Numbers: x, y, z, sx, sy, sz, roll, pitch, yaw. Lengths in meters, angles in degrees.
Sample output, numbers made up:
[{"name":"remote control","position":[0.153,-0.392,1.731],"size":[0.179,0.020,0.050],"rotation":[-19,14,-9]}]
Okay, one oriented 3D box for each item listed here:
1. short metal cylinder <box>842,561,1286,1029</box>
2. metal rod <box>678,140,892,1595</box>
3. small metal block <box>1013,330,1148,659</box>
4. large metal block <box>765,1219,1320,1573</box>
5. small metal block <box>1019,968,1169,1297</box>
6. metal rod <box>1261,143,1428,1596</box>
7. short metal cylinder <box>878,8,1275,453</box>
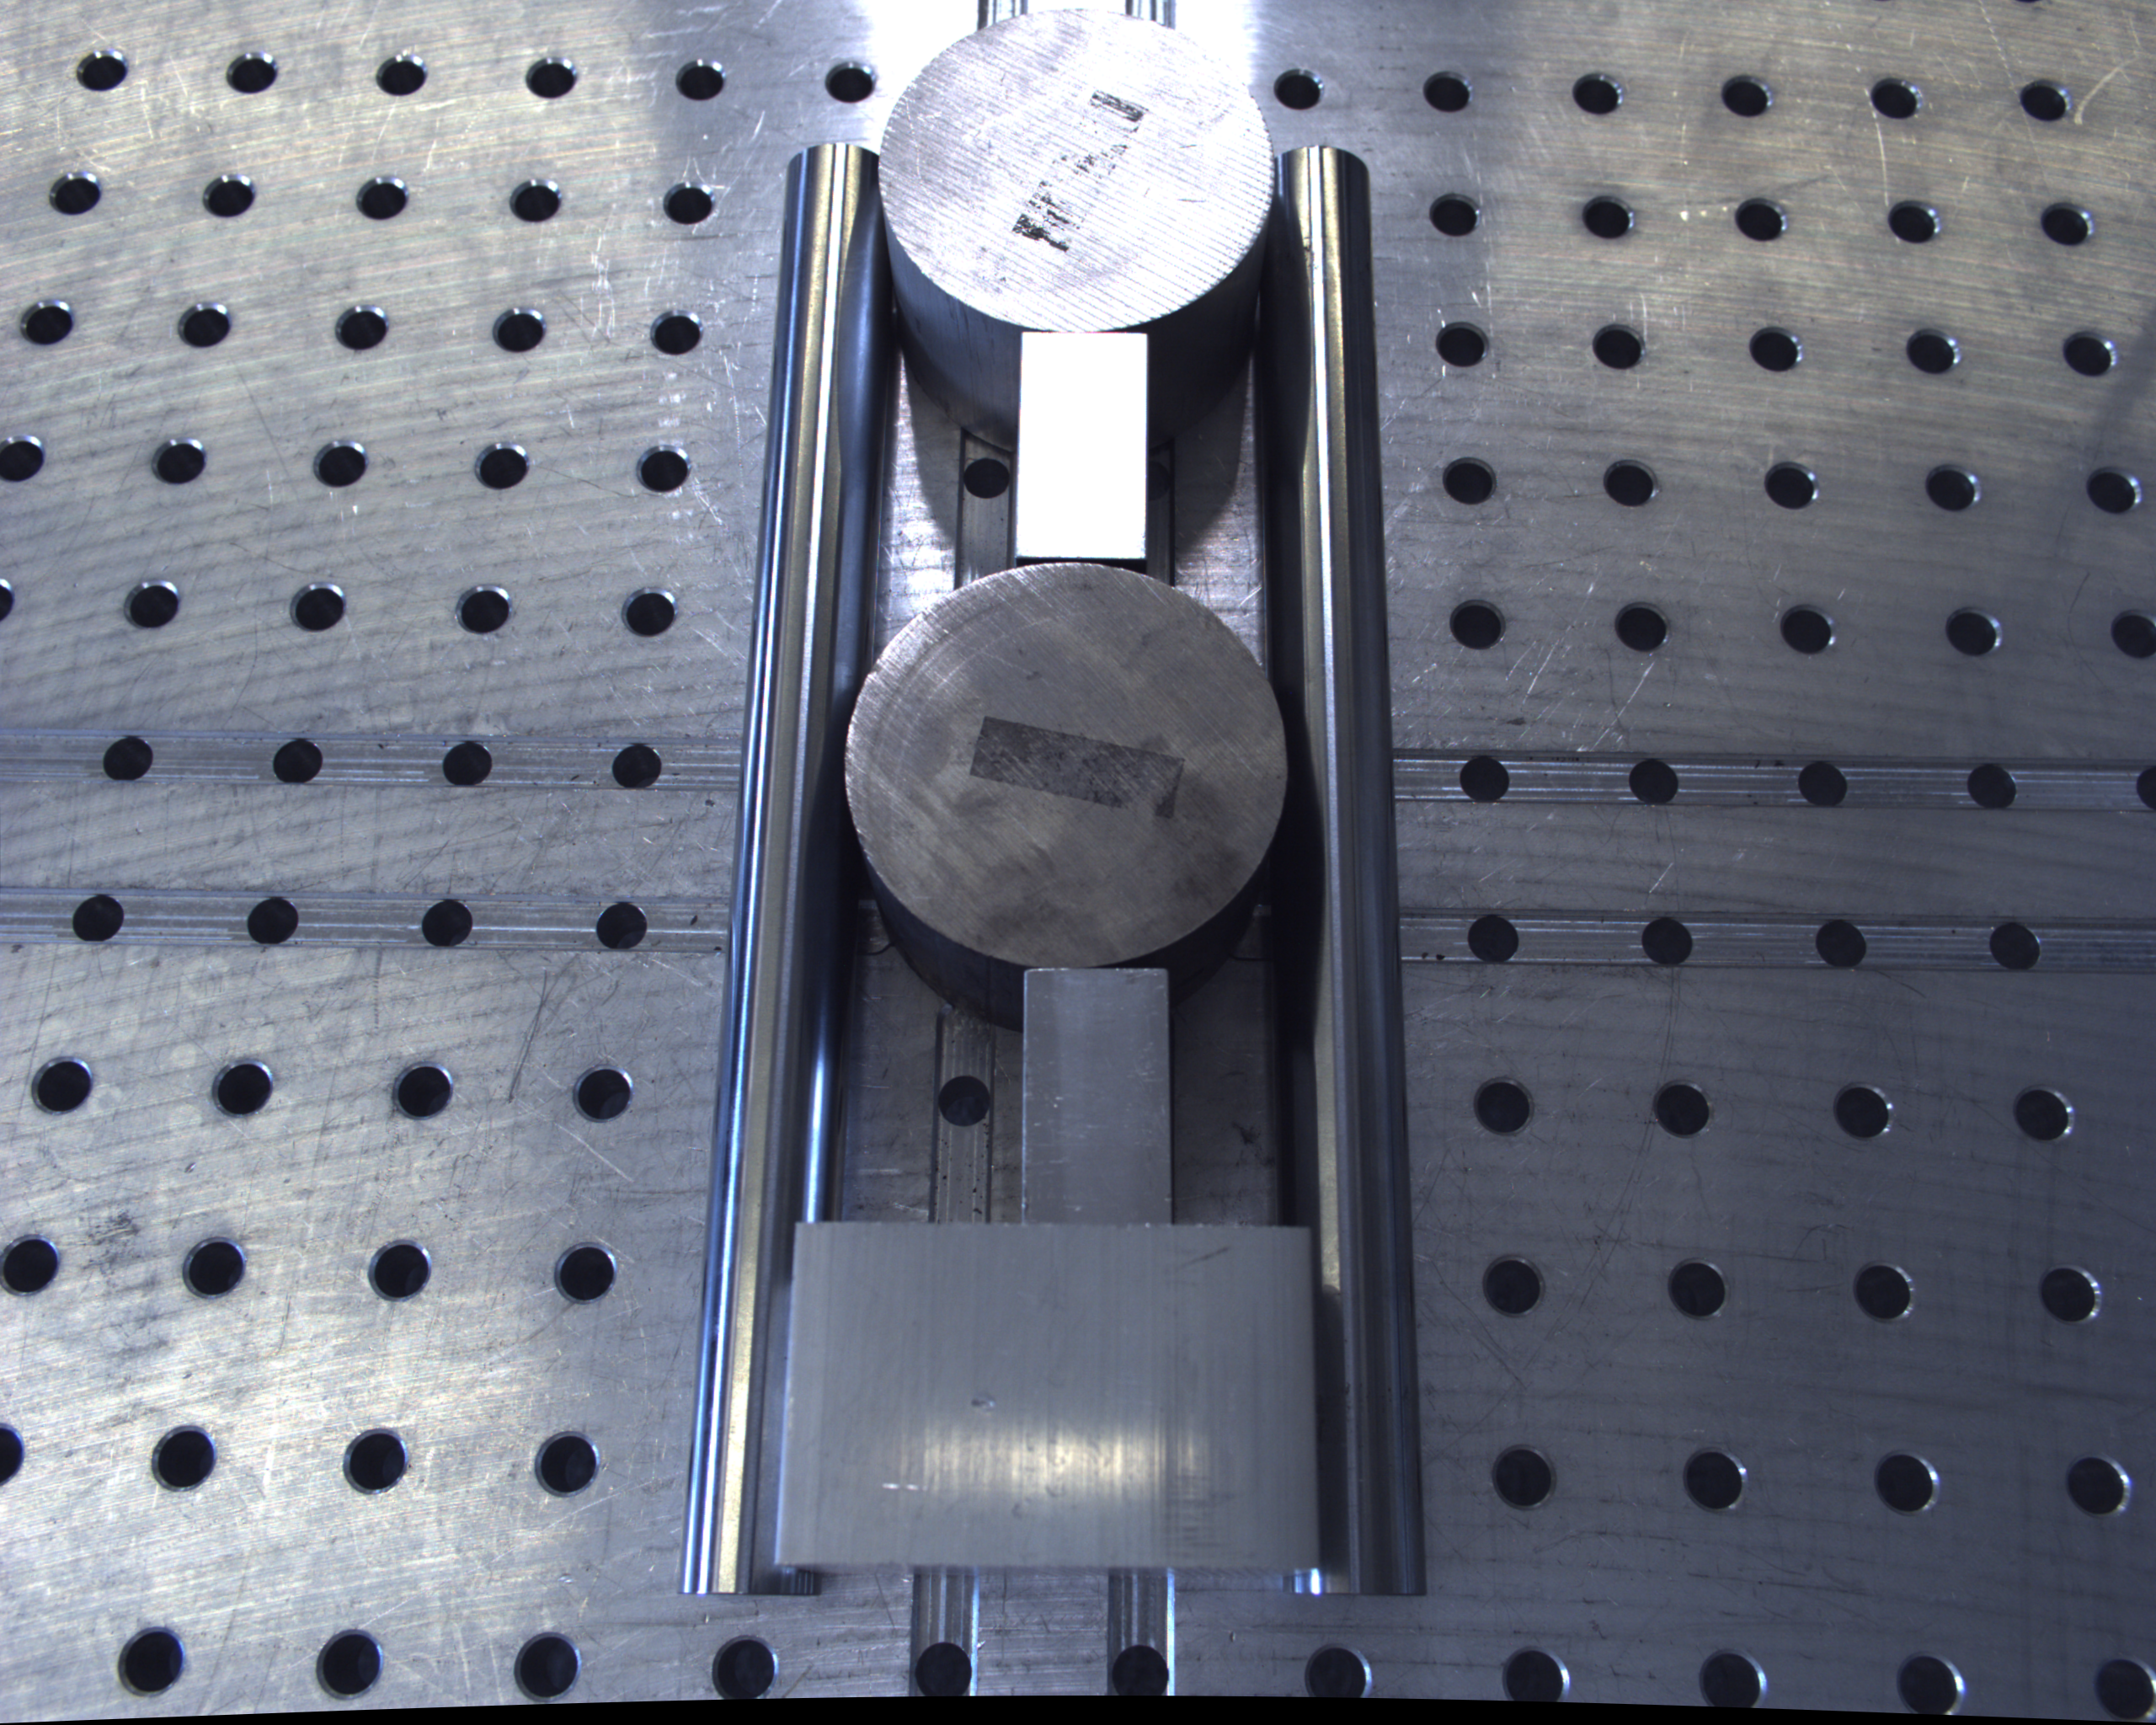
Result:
[{"name":"short metal cylinder","position":[-0.003,-0.011,0.402],"size":[0.081,0.050,0.080],"rotation":[0,70,0]},{"name":"metal rod","position":[-0.055,-0.013,0.415],"size":[0.025,0.025,0.299],"rotation":[1,70,0]},{"name":"small metal block","position":[0.001,-0.072,0.423],"size":[0.025,0.050,0.050],"rotation":[1,70,0]},{"name":"large metal block","position":[-0.005,0.092,0.349],"size":[0.080,0.080,0.050],"rotation":[1,70,0]},{"name":"small metal block","position":[0.003,0.050,0.379],"size":[0.025,0.050,0.050],"rotation":[0,70,0]},{"name":"metal rod","position":[0.051,-0.012,0.415],"size":[0.025,0.025,0.299],"rotation":[1,70,0]},{"name":"short metal cylinder","position":[0.000,-0.133,0.446],"size":[0.081,0.050,0.080],"rotation":[0,70,0]}]
